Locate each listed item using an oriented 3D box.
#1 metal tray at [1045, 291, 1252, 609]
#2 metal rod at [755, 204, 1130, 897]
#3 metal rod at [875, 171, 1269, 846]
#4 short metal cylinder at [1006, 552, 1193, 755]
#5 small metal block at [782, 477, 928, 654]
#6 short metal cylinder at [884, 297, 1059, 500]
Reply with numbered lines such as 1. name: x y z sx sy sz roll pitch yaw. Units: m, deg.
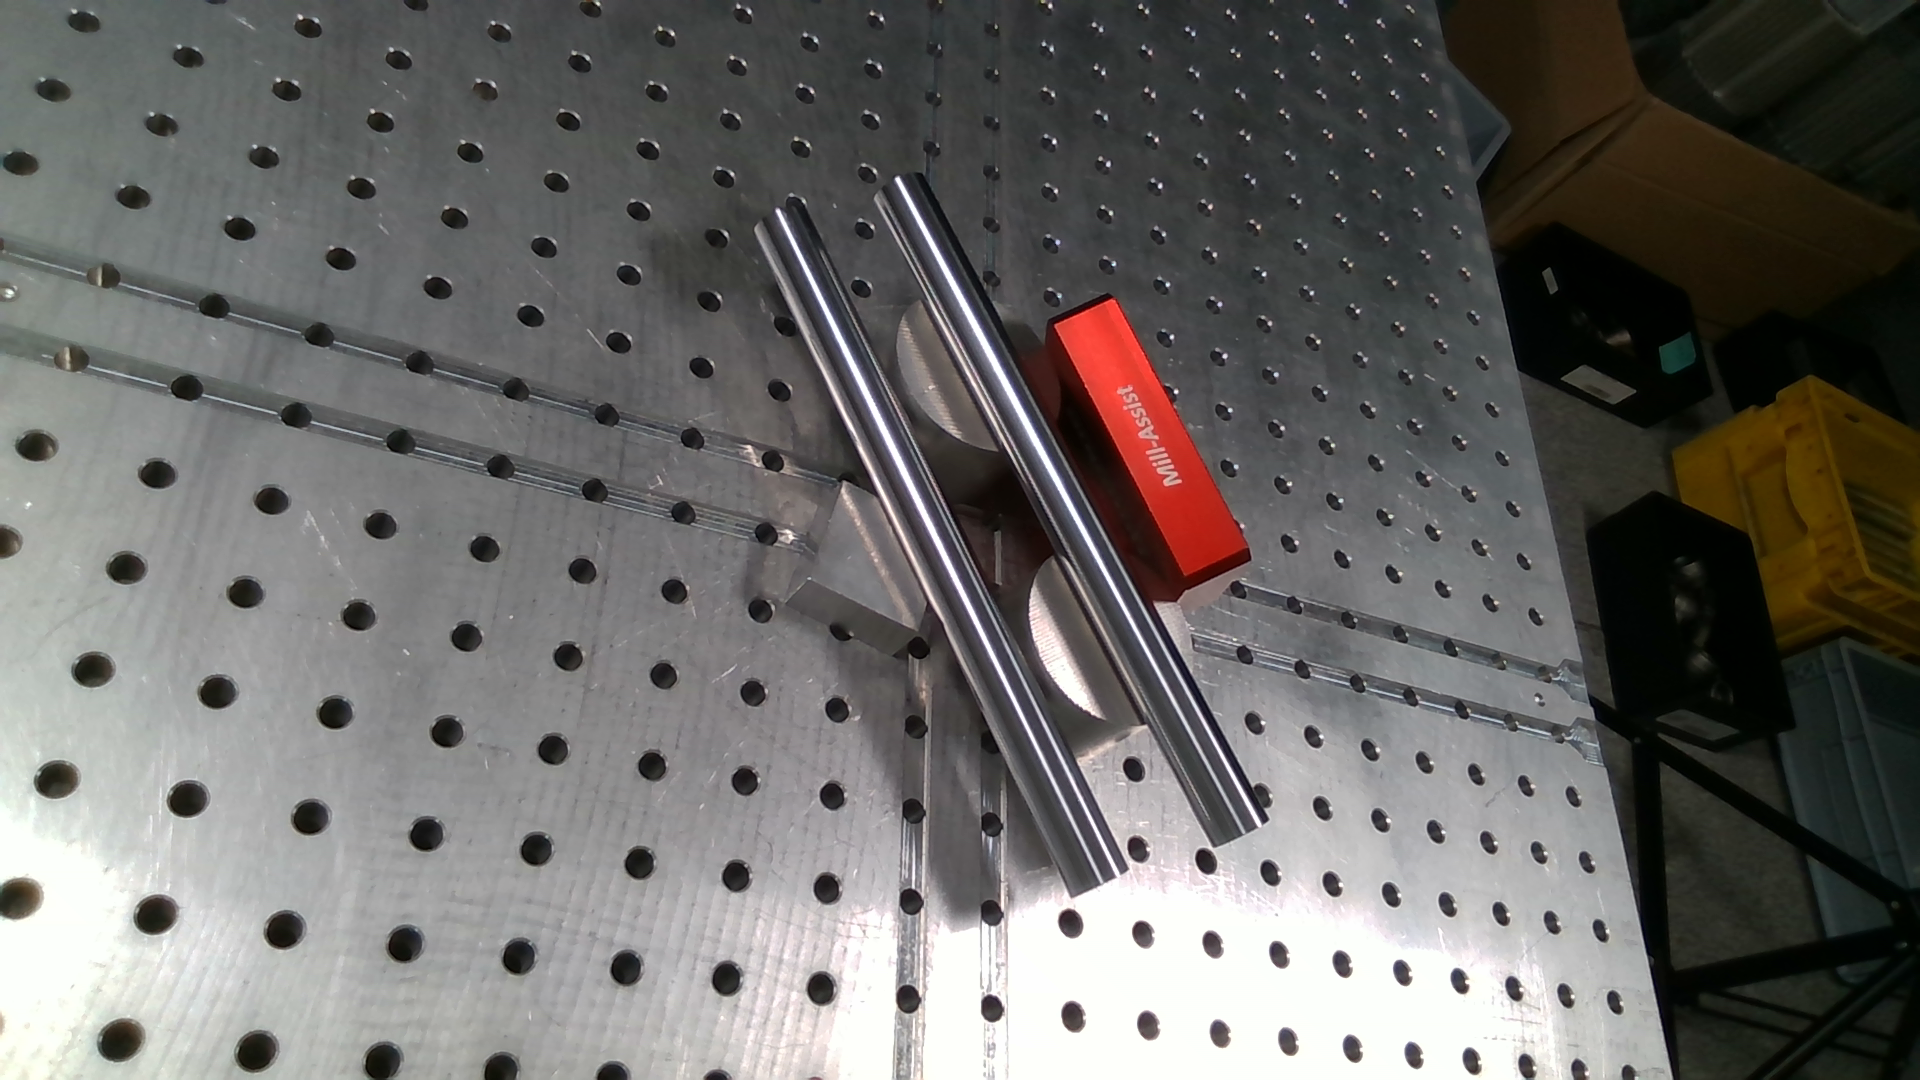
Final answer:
1. metal tray: 0.078 -0.034 0.612 0.030 0.090 0.130 -25 78 -6
2. metal rod: -0.011 -0.002 0.550 0.025 0.025 0.300 -17 75 -37
3. metal rod: 0.041 -0.019 0.559 0.025 0.025 0.300 -18 76 -37
4. short metal cylinder: 0.050 0.048 0.579 0.080 0.050 0.080 14 59 -25
5. small metal block: -0.038 0.011 0.559 0.050 0.025 0.050 27 54 -17
6. short metal cylinder: -0.004 -0.063 0.604 0.080 0.050 0.080 14 59 -25
